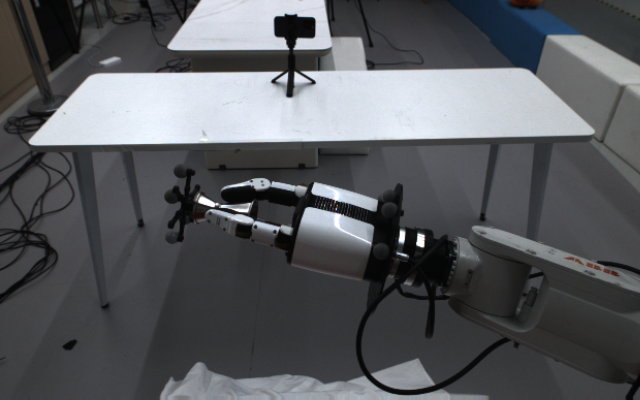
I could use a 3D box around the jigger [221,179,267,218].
[{"bbox_3d":[-0.105,0.013,0.582,0.071,0.043,0.043,9,35,4],"label":"jigger"}]
